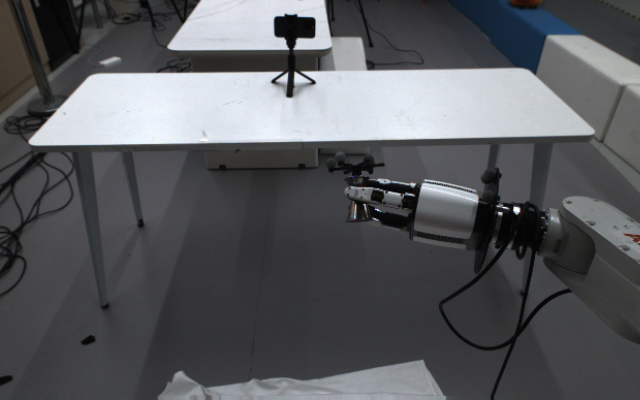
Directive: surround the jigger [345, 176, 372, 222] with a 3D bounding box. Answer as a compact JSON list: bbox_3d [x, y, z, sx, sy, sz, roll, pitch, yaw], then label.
[{"bbox_3d":[0.058,-0.002,0.750,0.043,0.071,0.043,-2,-7,0],"label":"jigger"}]
